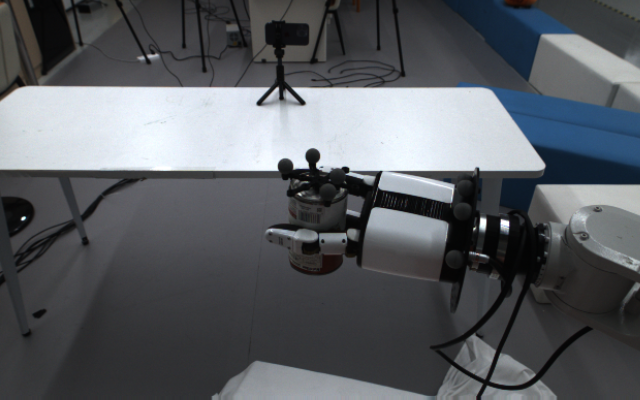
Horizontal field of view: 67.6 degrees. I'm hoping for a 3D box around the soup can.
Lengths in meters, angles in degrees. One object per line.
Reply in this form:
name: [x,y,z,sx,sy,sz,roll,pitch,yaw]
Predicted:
soup can: [-0.001,0.027,0.559,0.067,0.101,0.067,2,32,-1]
